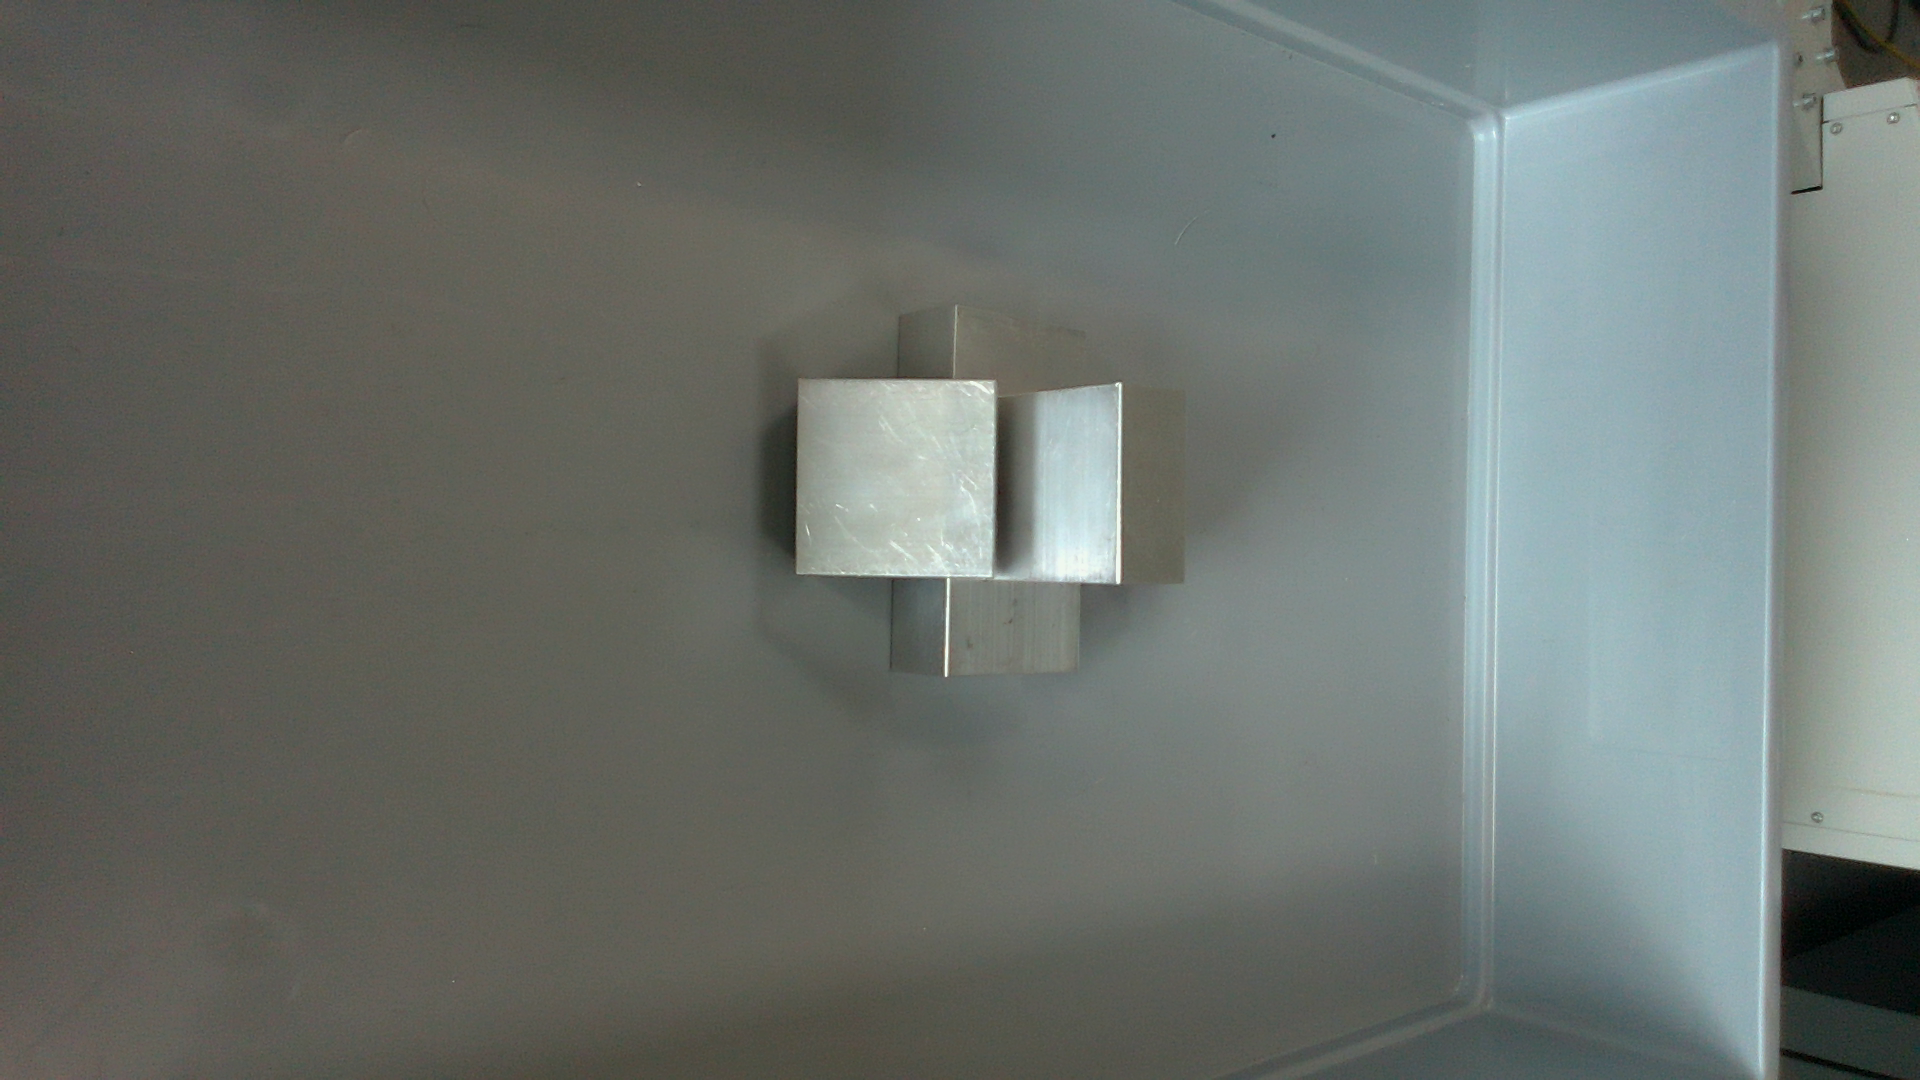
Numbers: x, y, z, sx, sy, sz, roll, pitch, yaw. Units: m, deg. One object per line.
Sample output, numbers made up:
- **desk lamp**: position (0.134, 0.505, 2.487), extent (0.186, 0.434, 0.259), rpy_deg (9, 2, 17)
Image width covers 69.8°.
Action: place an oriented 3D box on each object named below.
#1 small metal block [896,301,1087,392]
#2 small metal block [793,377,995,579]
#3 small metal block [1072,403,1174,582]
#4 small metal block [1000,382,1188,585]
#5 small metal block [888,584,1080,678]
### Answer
- **small metal block**: position (0.009, -0.038, 0.393), extent (0.050, 0.025, 0.050), rpy_deg (3, 88, -40)
- **small metal block**: position (-0.016, -0.016, 0.356), extent (0.050, 0.025, 0.050), rpy_deg (1, 90, 3)
- **small metal block**: position (0.050, -0.013, 0.413), extent (0.050, 0.025, 0.050), rpy_deg (6, 86, -79)
- **small metal block**: position (0.033, -0.014, 0.365), extent (0.025, 0.050, 0.050), rpy_deg (1, 90, -40)
- **small metal block**: position (0.008, 0.013, 0.393), extent (0.050, 0.025, 0.050), rpy_deg (3, 88, -39)
